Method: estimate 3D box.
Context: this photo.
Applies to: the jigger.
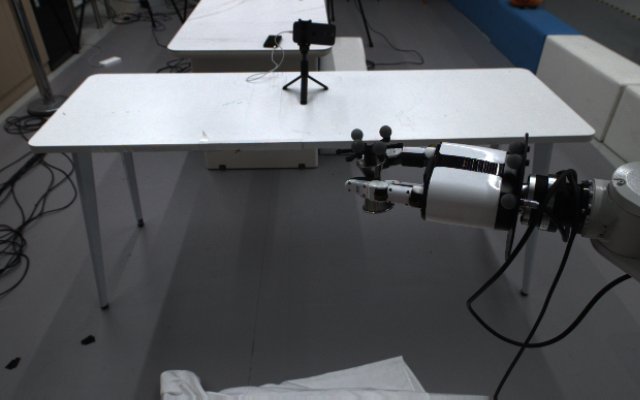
[{"bbox_3d":[0.075,-0.024,0.659,0.043,0.071,0.043,-11,23,5],"label":"jigger"}]
